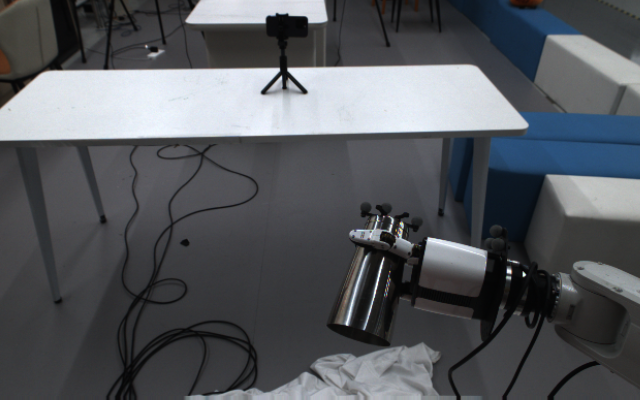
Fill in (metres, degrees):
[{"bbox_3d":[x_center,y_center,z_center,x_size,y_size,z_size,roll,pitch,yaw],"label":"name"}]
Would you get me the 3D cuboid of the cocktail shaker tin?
[{"bbox_3d":[0.080,0.107,0.692,0.093,0.093,0.170,12,65,14],"label":"cocktail shaker tin"}]
